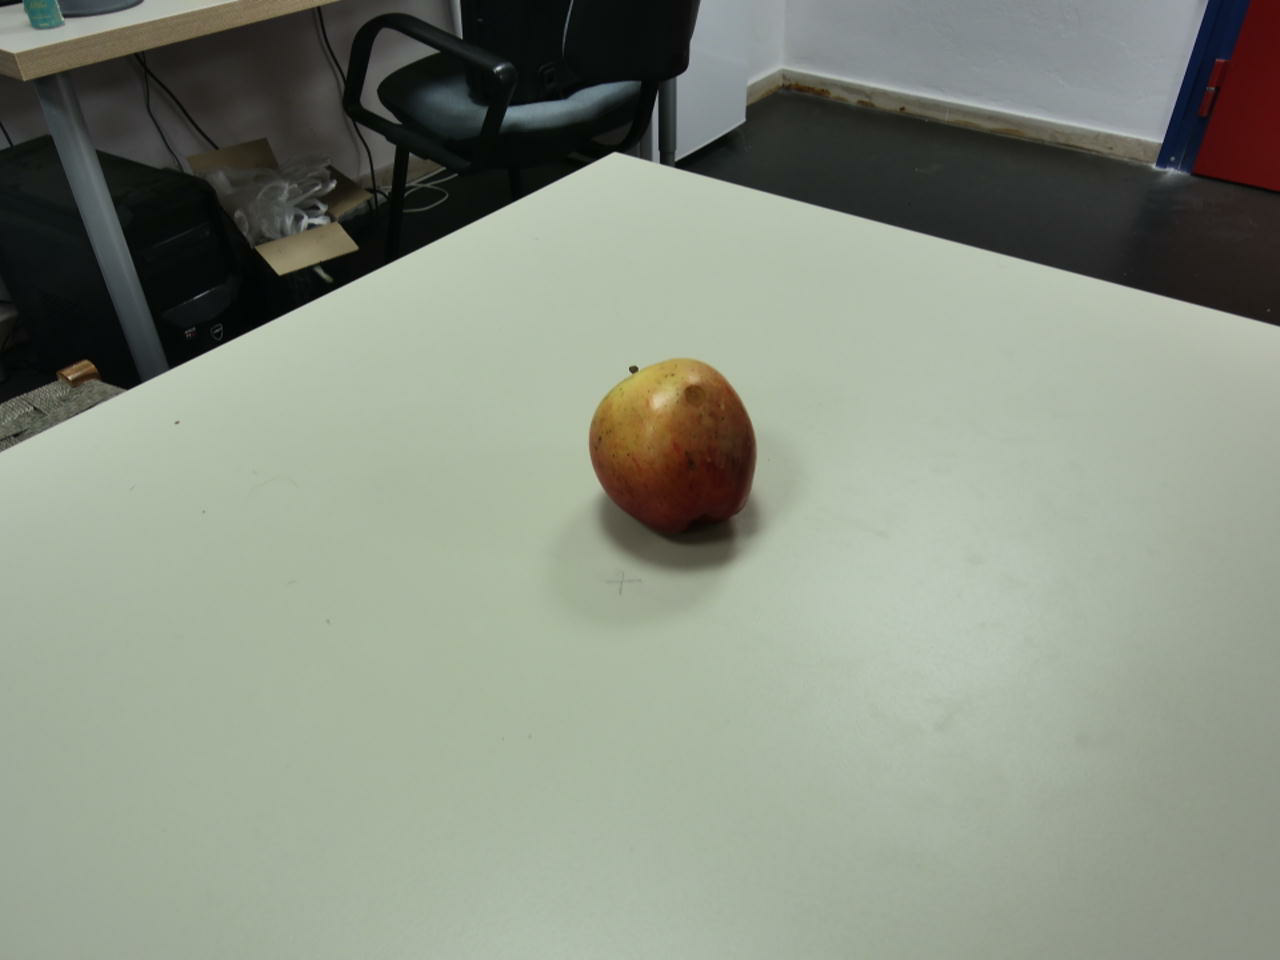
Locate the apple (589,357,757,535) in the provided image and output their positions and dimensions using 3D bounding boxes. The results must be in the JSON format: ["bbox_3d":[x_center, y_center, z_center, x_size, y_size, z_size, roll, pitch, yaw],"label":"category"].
[{"bbox_3d":[0.017,-0.019,0.516,0.086,0.084,0.093,2,37,2],"label":"apple"}]
